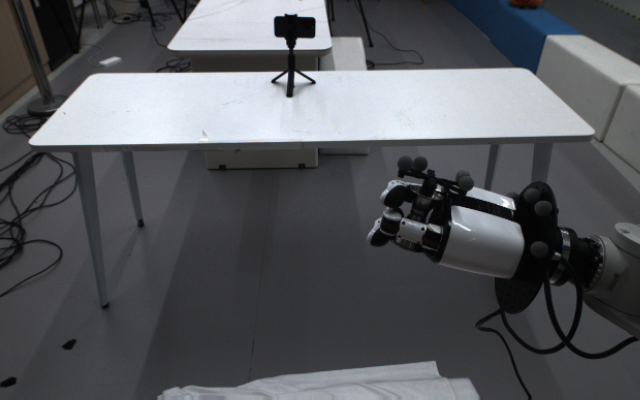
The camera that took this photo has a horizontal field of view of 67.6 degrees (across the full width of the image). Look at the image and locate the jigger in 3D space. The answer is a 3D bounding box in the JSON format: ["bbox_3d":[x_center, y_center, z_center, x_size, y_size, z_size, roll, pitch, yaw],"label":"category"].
[{"bbox_3d":[0.117,0.021,0.577,0.043,0.071,0.043,15,16,-5],"label":"jigger"}]
